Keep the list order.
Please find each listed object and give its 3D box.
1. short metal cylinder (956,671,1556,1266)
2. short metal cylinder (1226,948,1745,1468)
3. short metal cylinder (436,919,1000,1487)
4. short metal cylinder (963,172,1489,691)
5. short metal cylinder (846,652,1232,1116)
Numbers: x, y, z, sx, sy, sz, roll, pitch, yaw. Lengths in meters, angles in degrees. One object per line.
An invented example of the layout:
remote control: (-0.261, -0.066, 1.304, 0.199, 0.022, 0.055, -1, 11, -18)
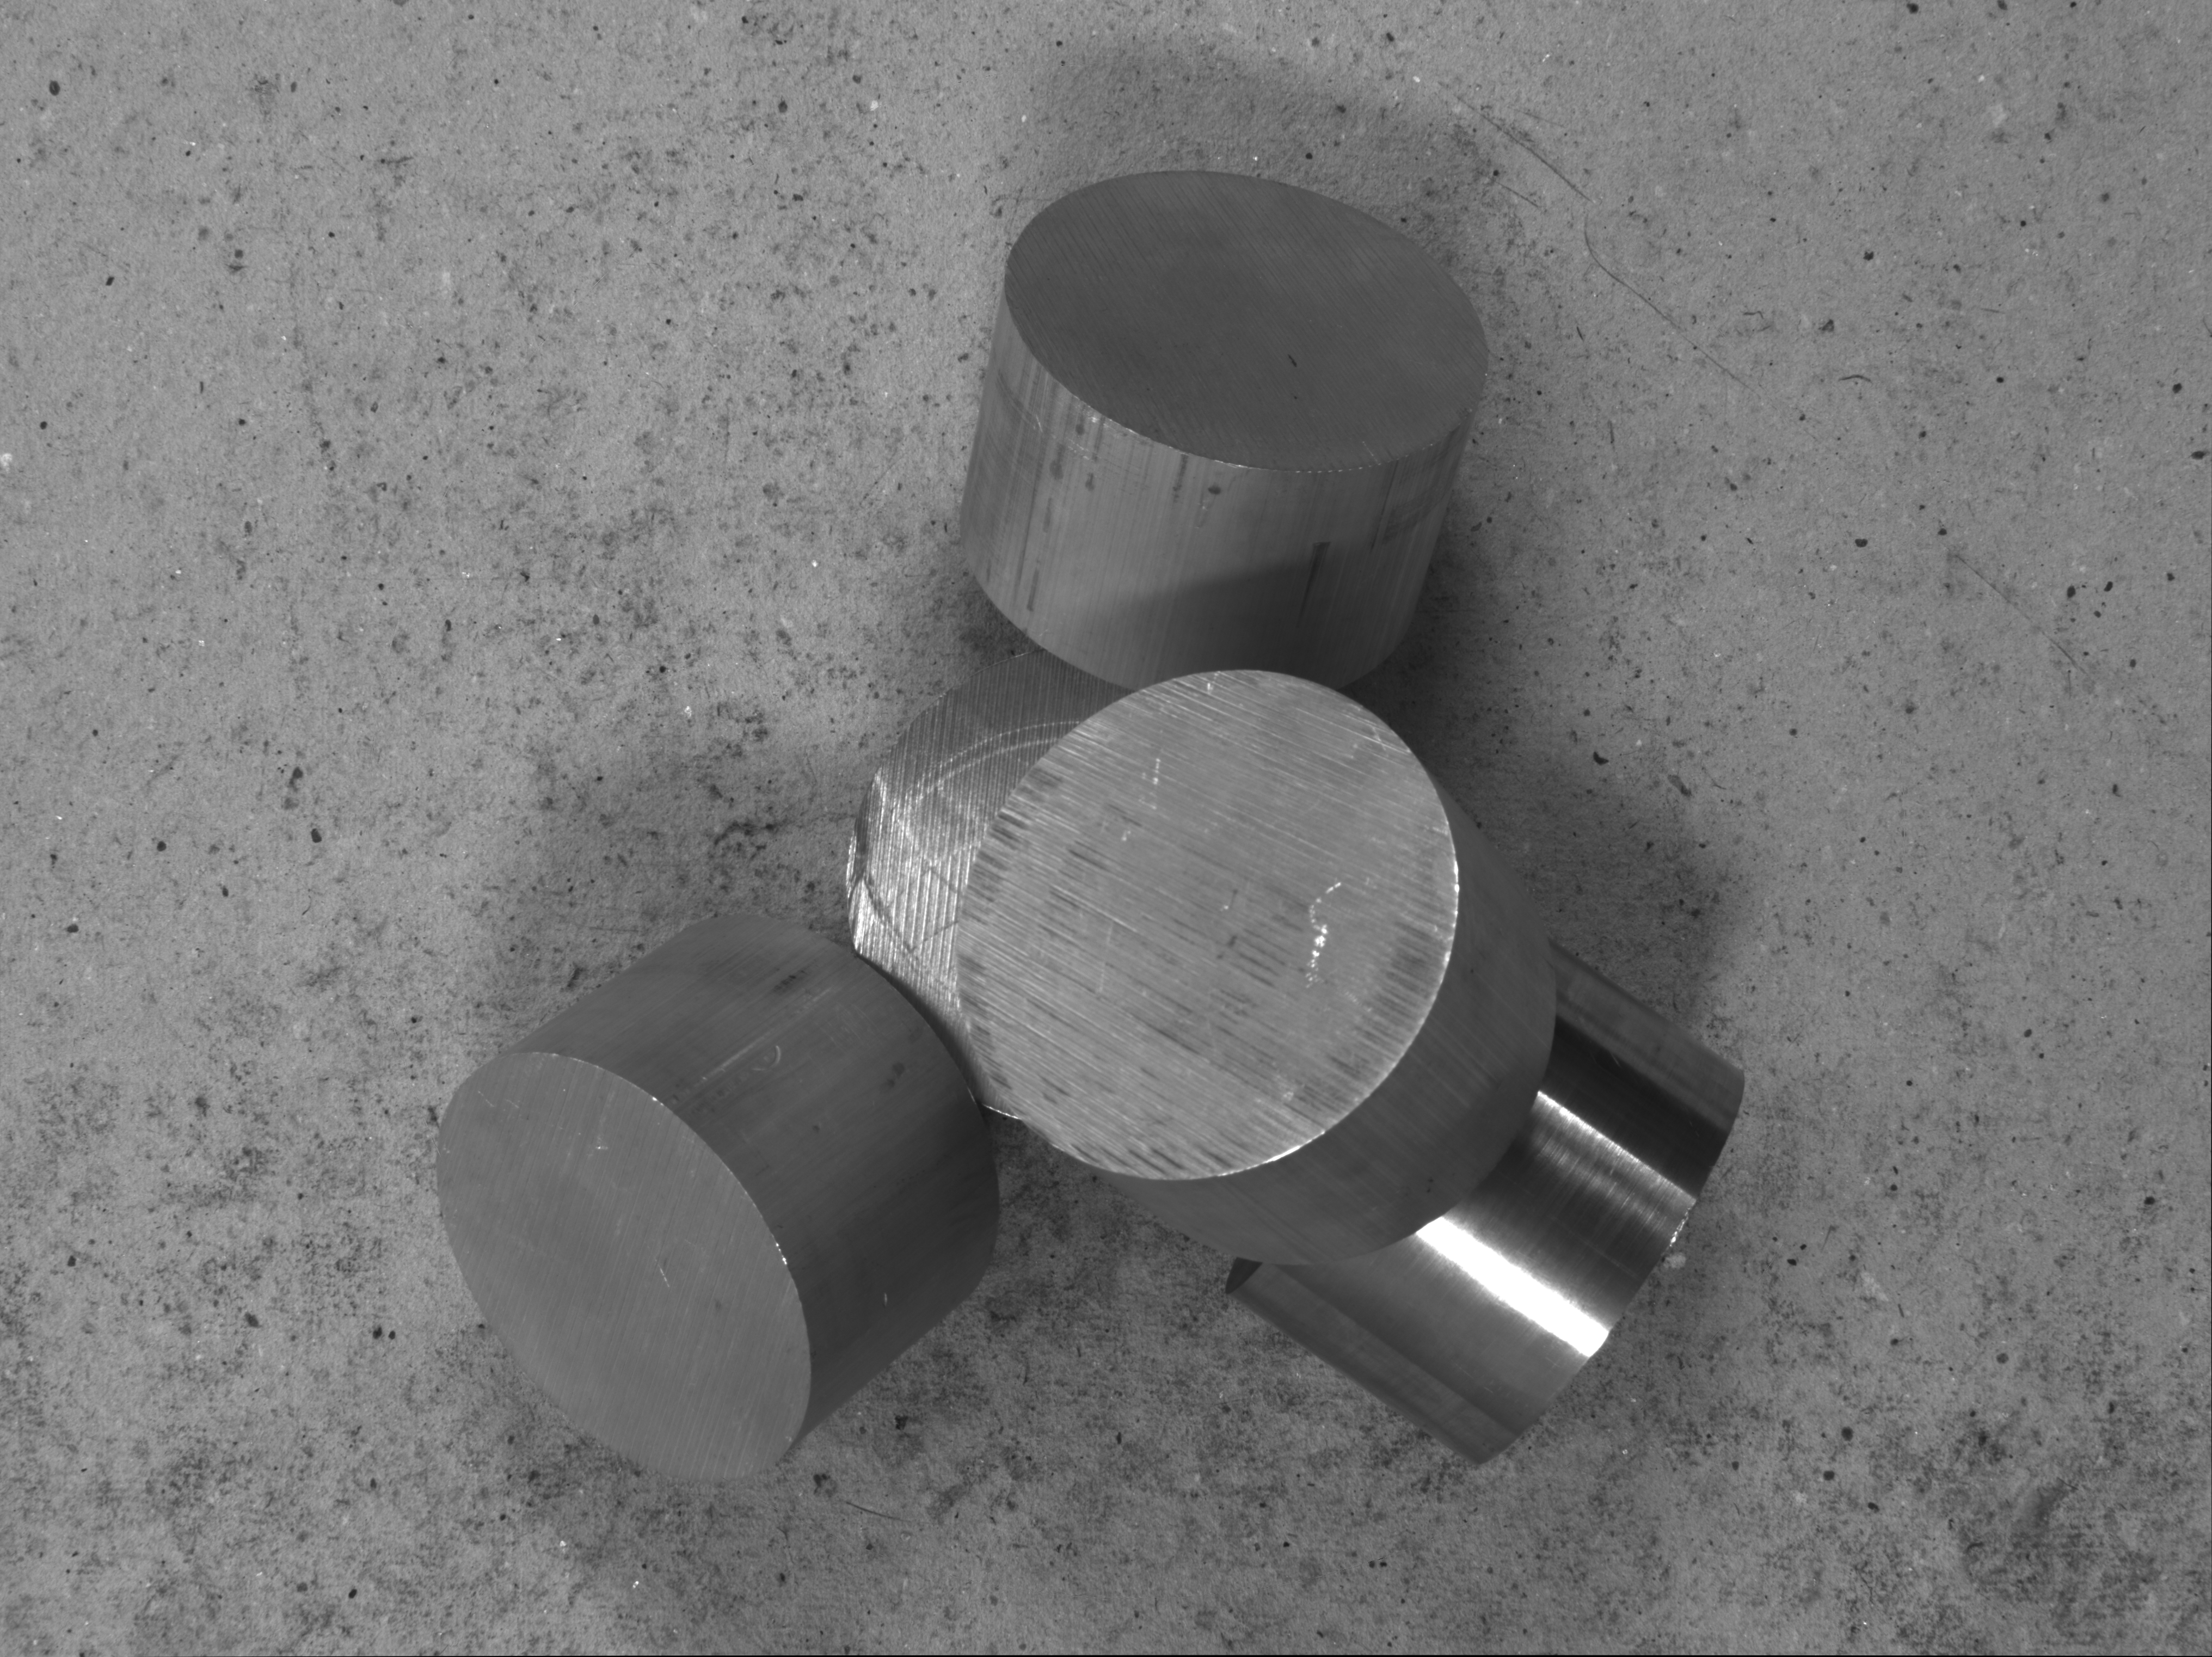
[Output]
short metal cylinder: (0.024, 0.022, 0.566, 0.080, 0.050, 0.080, -9, 66, 21)
short metal cylinder: (0.063, 0.060, 0.618, 0.050, 0.080, 0.080, 35, 90, 0)
short metal cylinder: (-0.065, 0.062, 0.612, 0.080, 0.050, 0.080, 19, 125, 29)
short metal cylinder: (0.019, -0.065, 0.612, 0.080, 0.080, 0.050, 14, 133, 0)
short metal cylinder: (-0.003, 0.010, 0.632, 0.080, 0.050, 0.080, 0, 89, 0)
